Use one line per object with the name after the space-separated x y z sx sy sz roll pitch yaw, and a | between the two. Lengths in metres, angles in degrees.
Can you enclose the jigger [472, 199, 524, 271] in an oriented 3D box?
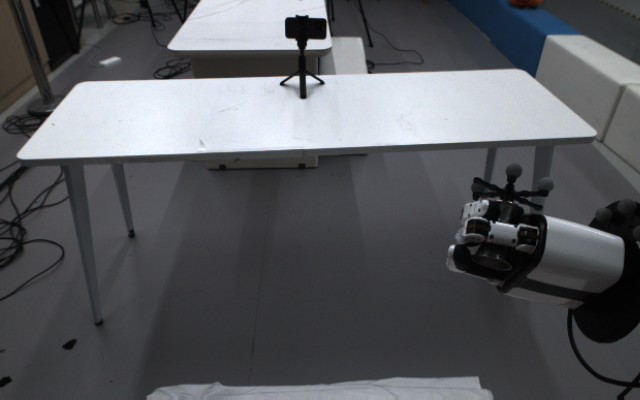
0.201 0.037 0.539 0.043 0.043 0.071 15 70 18 | jigger
